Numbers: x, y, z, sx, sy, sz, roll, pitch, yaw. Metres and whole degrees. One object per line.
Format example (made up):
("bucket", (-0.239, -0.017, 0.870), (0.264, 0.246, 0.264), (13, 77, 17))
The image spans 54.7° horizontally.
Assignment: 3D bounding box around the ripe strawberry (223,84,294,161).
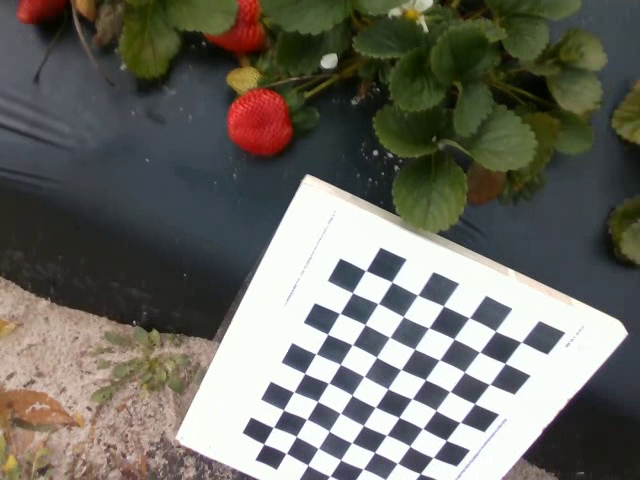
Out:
("ripe strawberry", (-0.051, -0.091, 0.491), (0.057, 0.056, 0.065), (-3, 25, 26))
